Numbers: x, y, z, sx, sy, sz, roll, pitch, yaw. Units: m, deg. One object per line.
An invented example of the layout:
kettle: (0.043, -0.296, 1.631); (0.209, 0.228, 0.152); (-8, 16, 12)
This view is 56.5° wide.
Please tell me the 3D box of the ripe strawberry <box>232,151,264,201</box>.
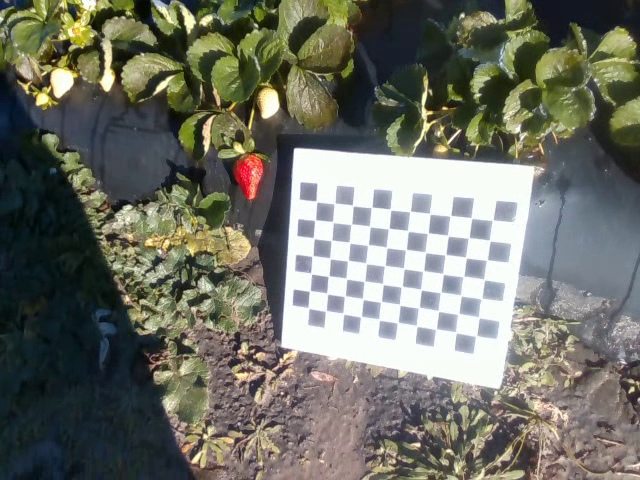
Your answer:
ripe strawberry: (-0.094, -0.083, 0.765); (0.048, 0.069, 0.040); (-11, -1, 20)
